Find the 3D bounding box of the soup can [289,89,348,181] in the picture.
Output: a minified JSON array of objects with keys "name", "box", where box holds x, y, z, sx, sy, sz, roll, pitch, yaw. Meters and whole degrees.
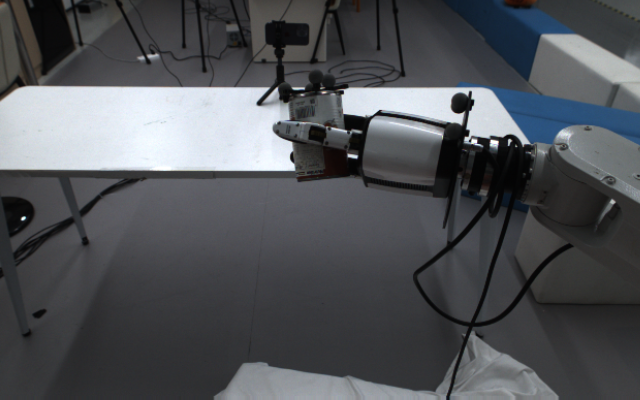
[{"name":"soup can","box":[-0.001,-0.076,0.591,0.067,0.101,0.067,-7,3,0]}]
